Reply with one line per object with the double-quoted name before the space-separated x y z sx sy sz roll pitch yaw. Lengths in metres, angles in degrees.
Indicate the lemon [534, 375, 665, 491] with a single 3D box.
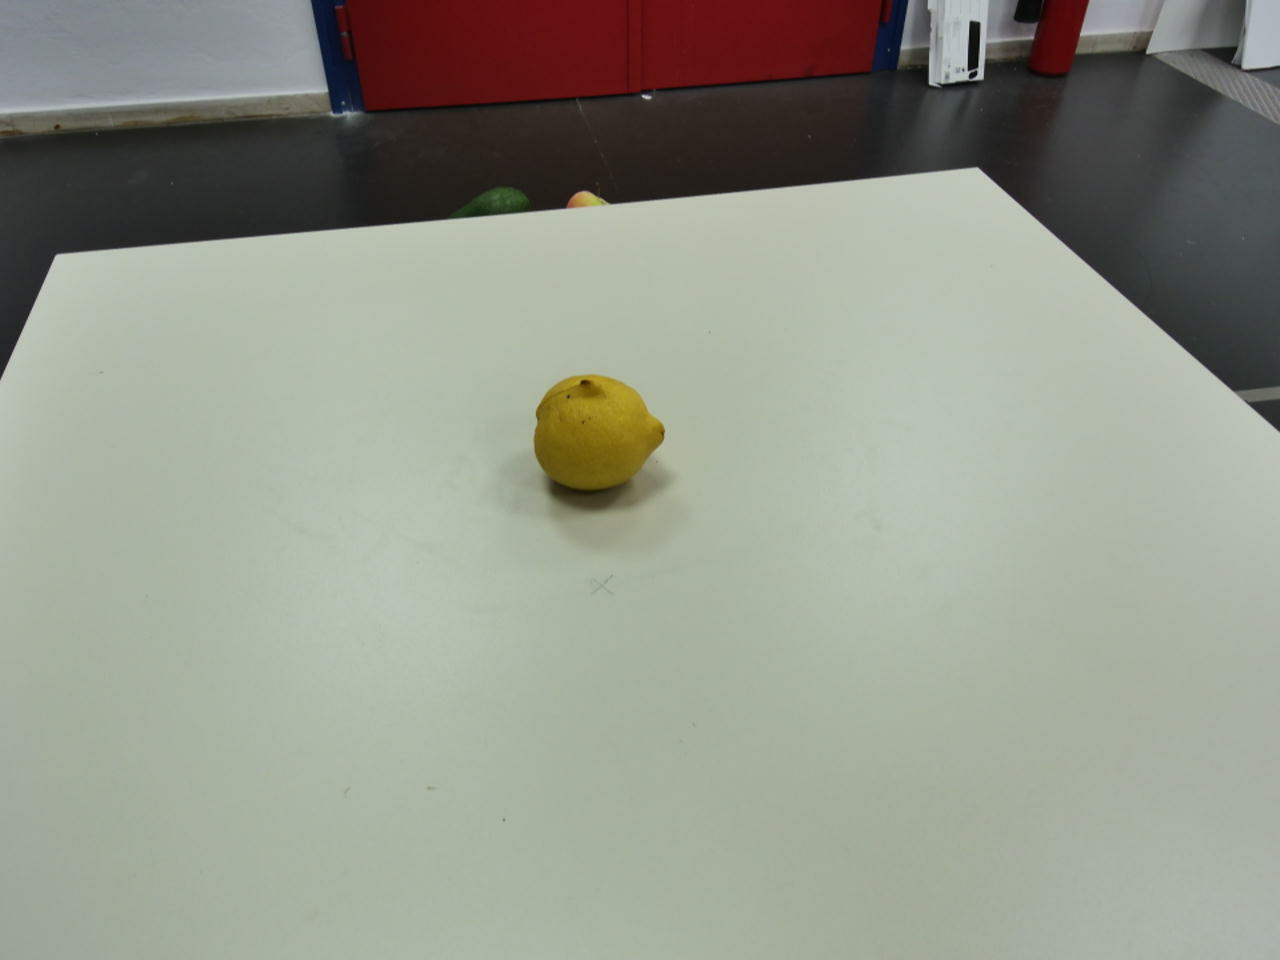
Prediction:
"lemon" -0.028 -0.031 0.590 0.071 0.071 0.070 32 48 32
